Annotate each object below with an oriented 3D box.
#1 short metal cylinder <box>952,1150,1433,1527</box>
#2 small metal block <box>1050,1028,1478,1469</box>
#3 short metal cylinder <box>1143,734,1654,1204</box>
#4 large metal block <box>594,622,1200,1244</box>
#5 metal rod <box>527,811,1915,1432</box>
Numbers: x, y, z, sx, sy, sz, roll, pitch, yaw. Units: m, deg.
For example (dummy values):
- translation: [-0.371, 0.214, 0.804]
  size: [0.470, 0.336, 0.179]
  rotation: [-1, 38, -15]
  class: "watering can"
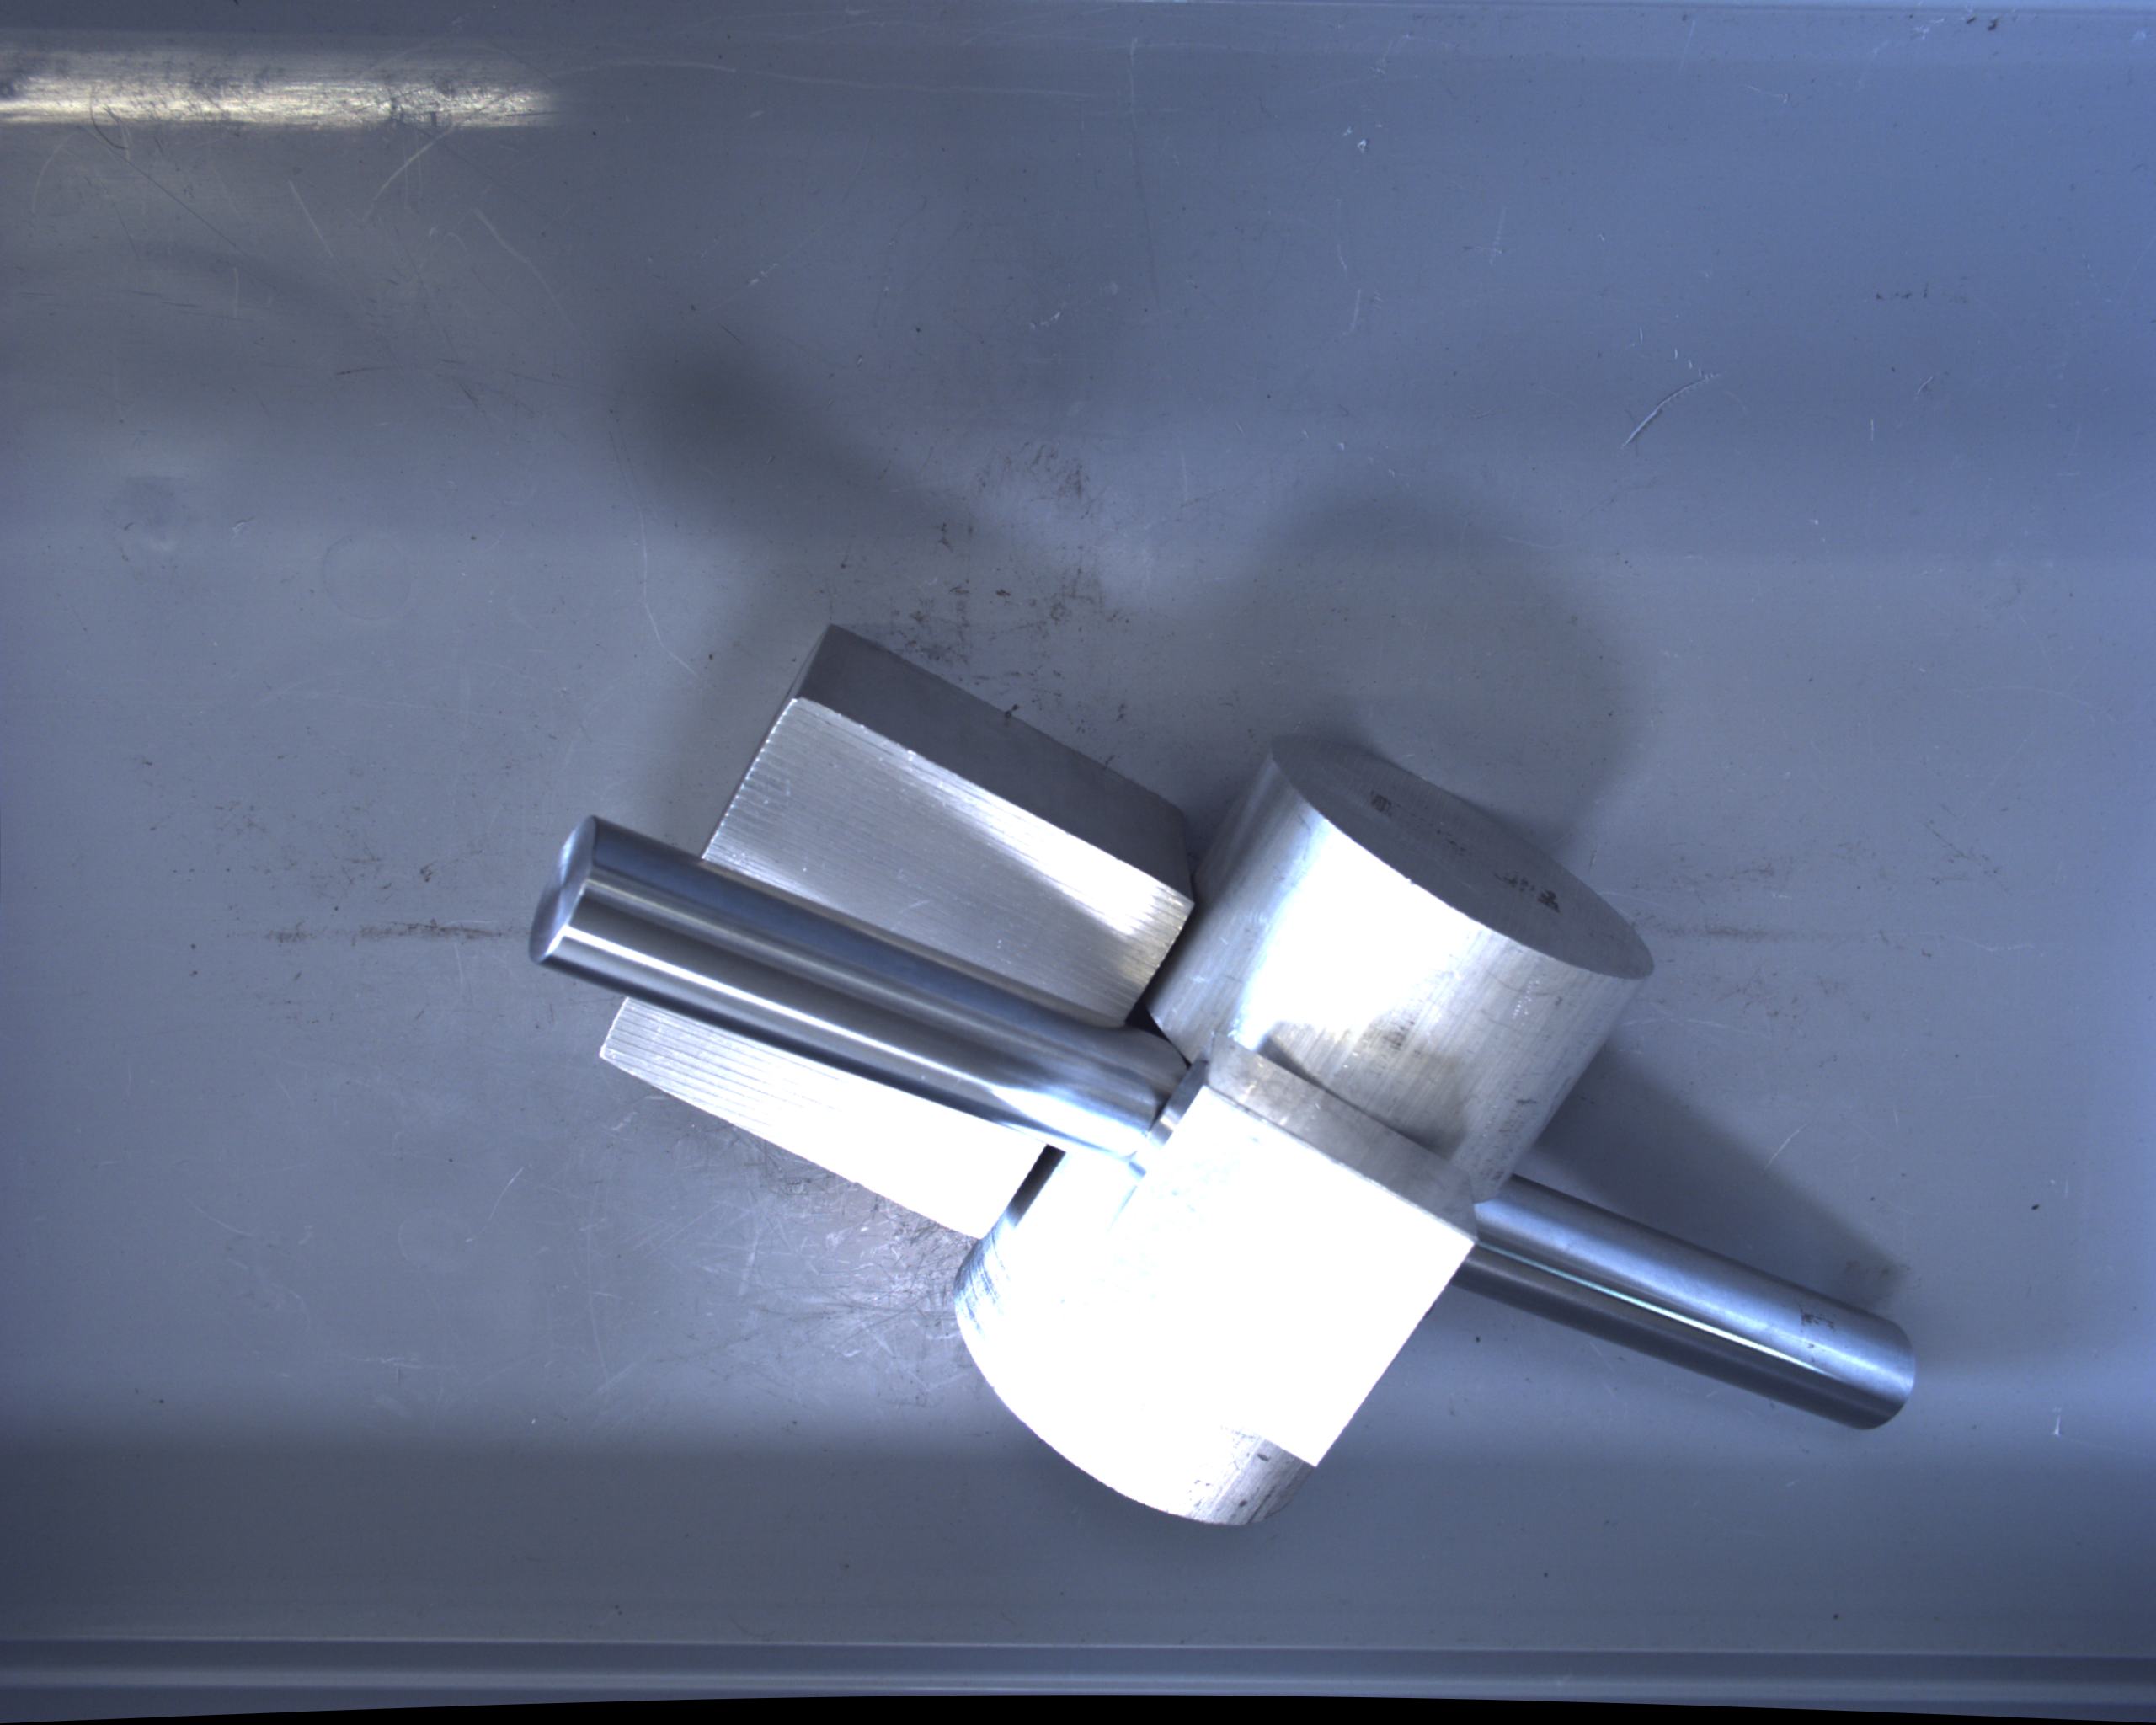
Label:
- translation: [0.023, 0.083, 0.411]
  size: [0.080, 0.080, 0.050]
  rotation: [28, 108, -10]
  class: "short metal cylinder"
- translation: [0.031, 0.064, 0.349]
  size: [0.050, 0.025, 0.050]
  rotation: [30, 108, -2]
  class: "small metal block"
- translation: [0.058, 0.018, 0.388]
  size: [0.080, 0.080, 0.050]
  rotation: [26, 108, -10]
  class: "short metal cylinder"
- translation: [-0.033, 0.013, 0.398]
  size: [0.080, 0.050, 0.080]
  rotation: [28, 108, -10]
  class: "large metal block"
- translation: [0.045, 0.057, 0.389]
  size: [0.302, 0.025, 0.025]
  rotation: [23, 109, -25]
  class: "metal rod"
